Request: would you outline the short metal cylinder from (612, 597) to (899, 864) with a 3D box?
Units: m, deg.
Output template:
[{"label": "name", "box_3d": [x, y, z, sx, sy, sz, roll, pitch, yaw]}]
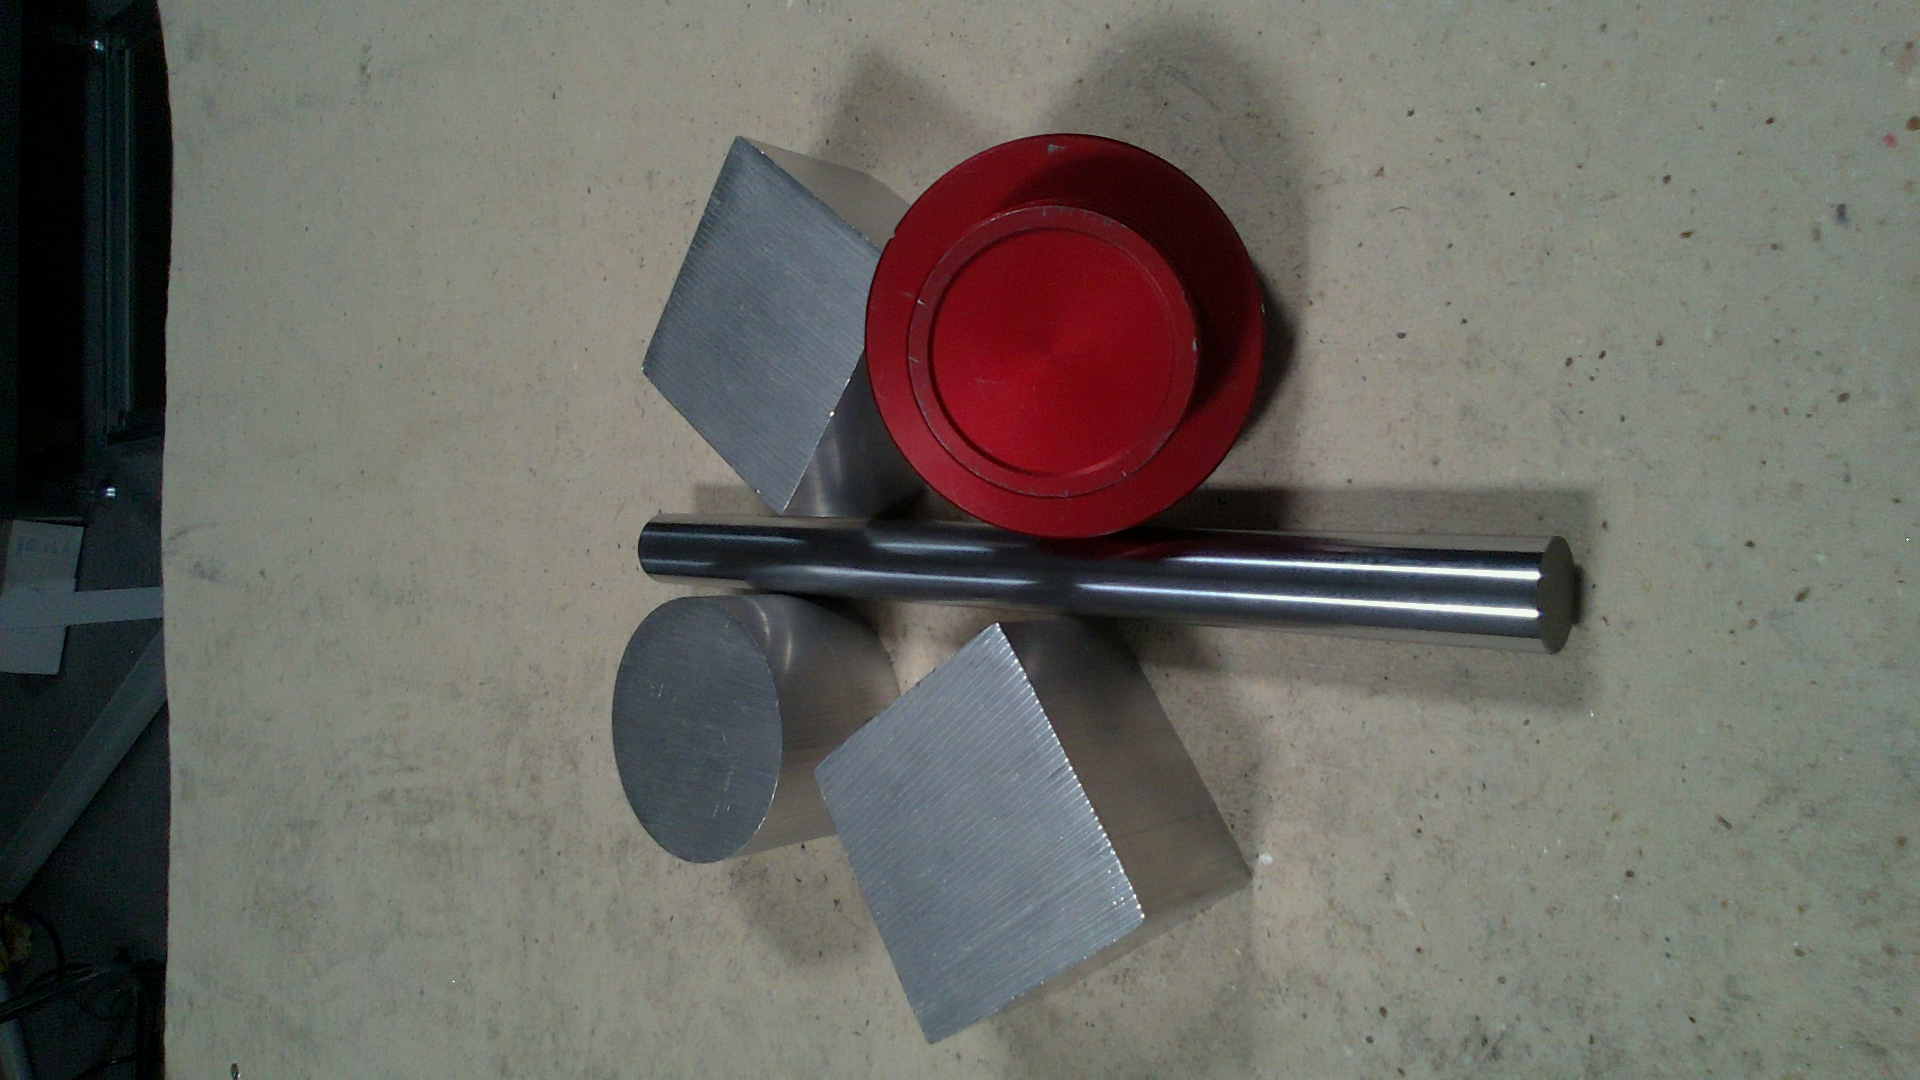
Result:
[{"label": "short metal cylinder", "box_3d": [-0.065, 0.057, 0.433, 0.080, 0.050, 0.080, 0, 90, 40]}]

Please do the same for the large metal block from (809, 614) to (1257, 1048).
[{"label": "large metal block", "box_3d": [0.017, 0.075, 0.365, 0.080, 0.050, 0.080, -41, 65, 33]}]

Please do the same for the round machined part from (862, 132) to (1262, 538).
[{"label": "round machined part", "box_3d": [0.023, -0.048, 0.333, 0.098, 0.042, 0.098, 3, 105, 11]}]

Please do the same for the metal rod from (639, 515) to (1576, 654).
[{"label": "metal rod", "box_3d": [0.012, 0.007, 0.386, 0.299, 0.025, 0.025, 2, 92, 40]}]

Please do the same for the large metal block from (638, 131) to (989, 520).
[{"label": "large metal block", "box_3d": [-0.041, -0.062, 0.410, 0.080, 0.050, 0.080, 44, 117, 31]}]
